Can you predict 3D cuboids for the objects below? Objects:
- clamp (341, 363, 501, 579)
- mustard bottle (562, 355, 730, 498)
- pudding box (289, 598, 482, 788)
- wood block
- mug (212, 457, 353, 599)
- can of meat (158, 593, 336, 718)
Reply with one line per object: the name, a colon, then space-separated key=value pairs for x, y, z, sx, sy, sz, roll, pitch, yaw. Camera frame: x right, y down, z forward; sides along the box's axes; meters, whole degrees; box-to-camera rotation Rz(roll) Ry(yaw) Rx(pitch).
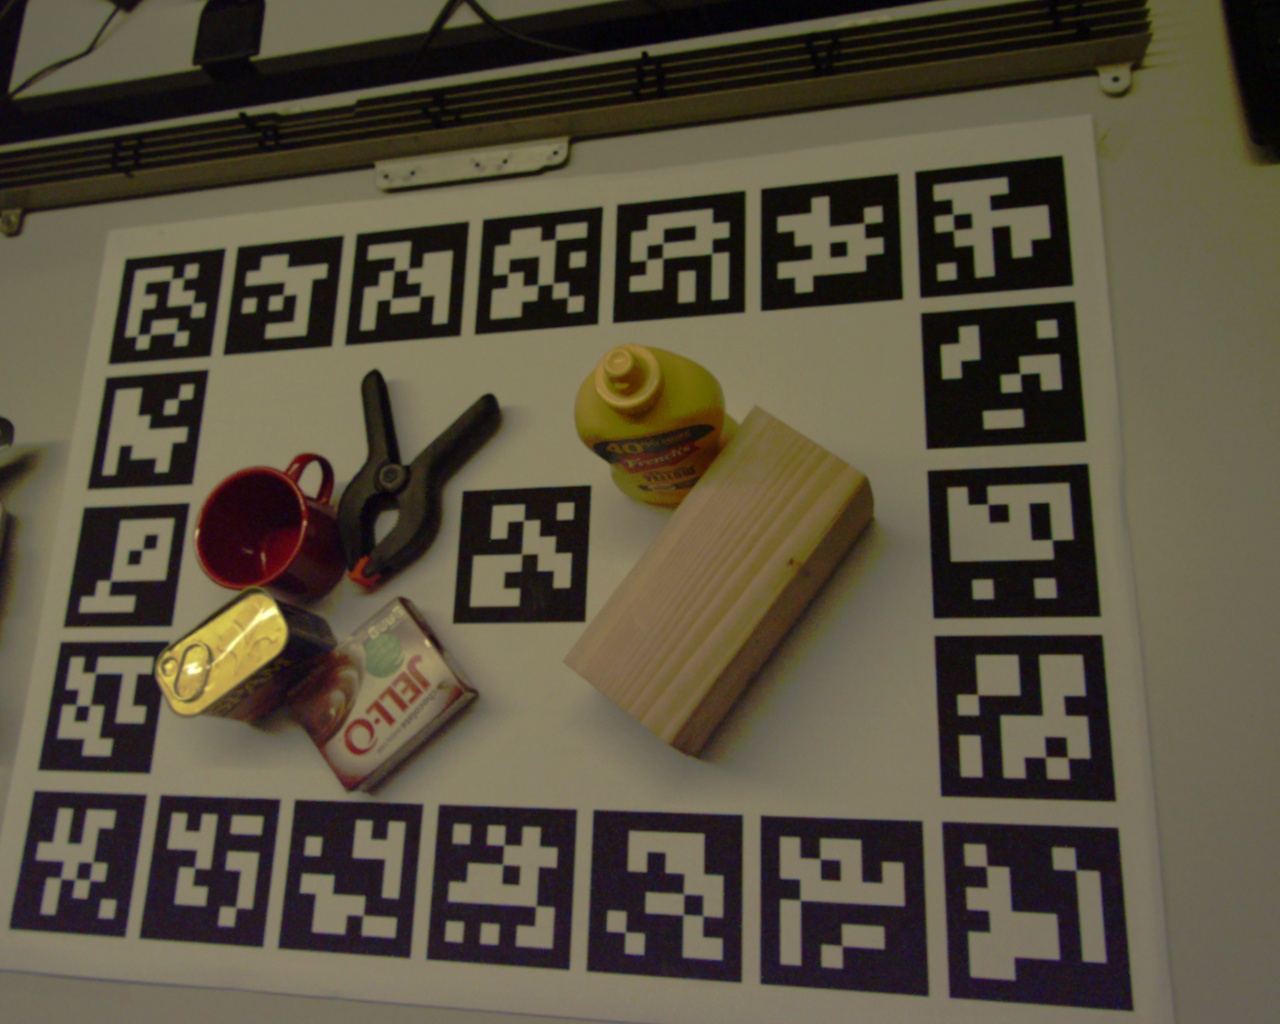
clamp: x=-0.188 y=-0.028 z=0.896 sx=0.123 sy=0.036 sz=0.165 roll=17 pitch=82 yaw=17
mustard bottle: x=0.001 y=-0.060 z=0.764 sx=0.097 sy=0.190 sz=0.058 roll=-8 pitch=74 yaw=13
pudding box: x=-0.188 y=0.134 z=0.846 sx=0.114 sy=0.038 sz=0.091 roll=-41 pitch=69 yaw=0
wood block: x=0.052 y=0.052 z=0.778 sx=0.091 sy=0.090 sz=0.206 roll=36 pitch=85 yaw=22
mug: x=-0.270 y=0.013 z=0.902 sx=0.094 sy=0.081 sz=0.117 roll=20 pitch=83 yaw=19
can of meat: x=-0.289 y=0.111 z=0.851 sx=0.102 sy=0.083 sz=0.058 roll=-32 pitch=71 yaw=5
